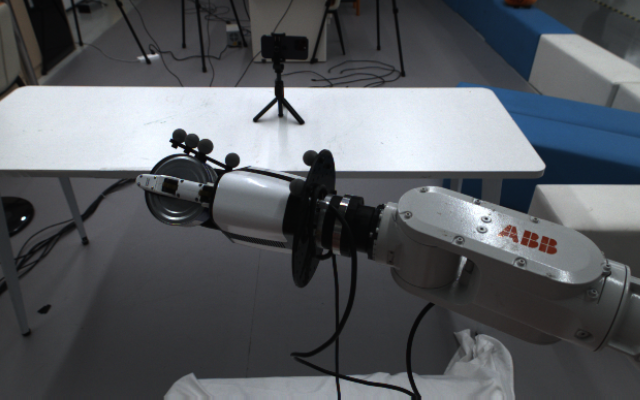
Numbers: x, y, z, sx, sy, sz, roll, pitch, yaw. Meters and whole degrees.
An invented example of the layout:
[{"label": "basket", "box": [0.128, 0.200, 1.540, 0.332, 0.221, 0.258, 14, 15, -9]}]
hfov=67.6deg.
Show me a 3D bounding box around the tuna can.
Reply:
[{"label": "tuna can", "box": [-0.162, -0.010, 0.583, 0.085, 0.085, 0.034, 14, -6, 16]}]
